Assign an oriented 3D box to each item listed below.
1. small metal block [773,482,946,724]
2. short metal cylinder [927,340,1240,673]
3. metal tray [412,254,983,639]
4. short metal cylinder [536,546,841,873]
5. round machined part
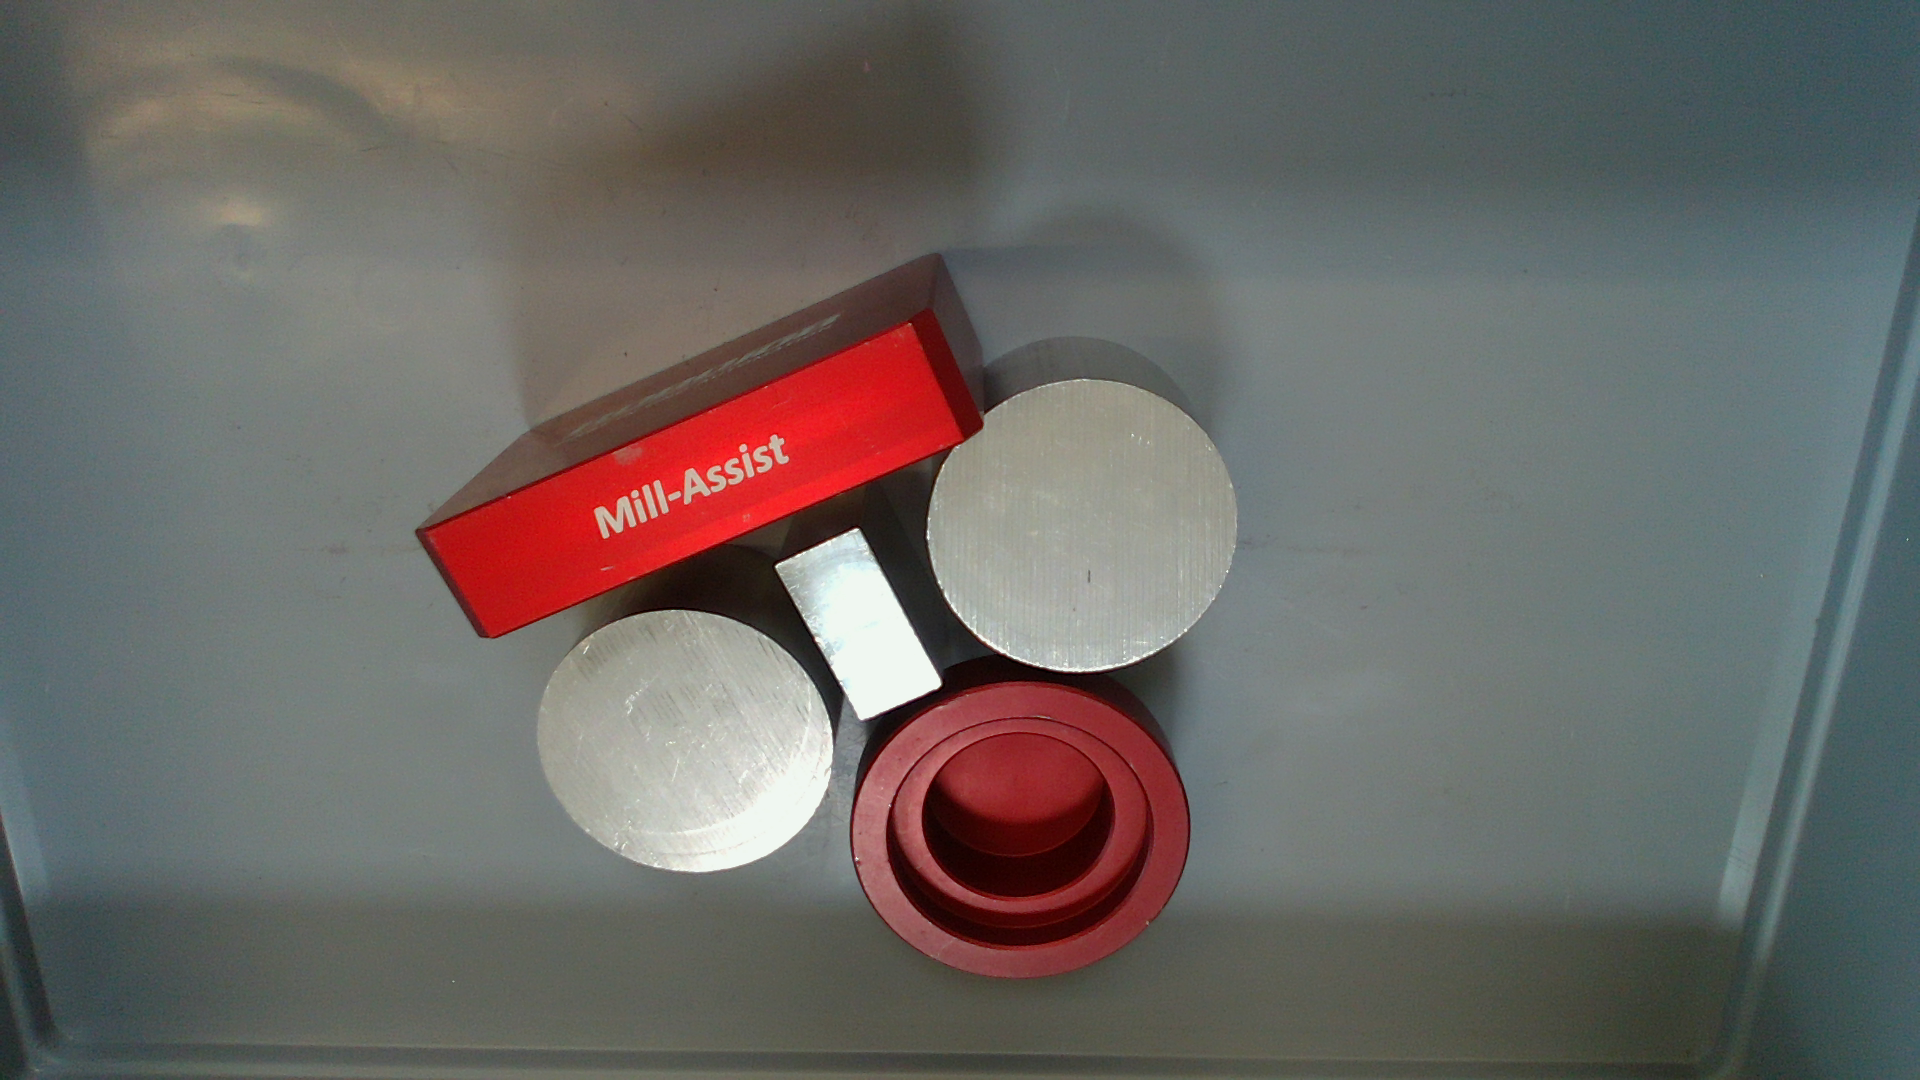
[{"bbox_3d":[-0.026,0.015,0.384,0.025,0.050,0.050,-24,108,9],"label":"small metal block"},{"bbox_3d":[0.032,-0.011,0.375,0.080,0.050,0.080,0,110,0],"label":"short metal cylinder"},{"bbox_3d":[-0.060,-0.028,0.347,0.130,0.090,0.030,-22,109,8],"label":"metal tray"},{"bbox_3d":[-0.074,0.047,0.396,0.080,0.050,0.080,0,110,0],"label":"short metal cylinder"},{"bbox_3d":[0.017,0.078,0.412,0.098,0.042,0.098,0,110,0],"label":"round machined part"}]
